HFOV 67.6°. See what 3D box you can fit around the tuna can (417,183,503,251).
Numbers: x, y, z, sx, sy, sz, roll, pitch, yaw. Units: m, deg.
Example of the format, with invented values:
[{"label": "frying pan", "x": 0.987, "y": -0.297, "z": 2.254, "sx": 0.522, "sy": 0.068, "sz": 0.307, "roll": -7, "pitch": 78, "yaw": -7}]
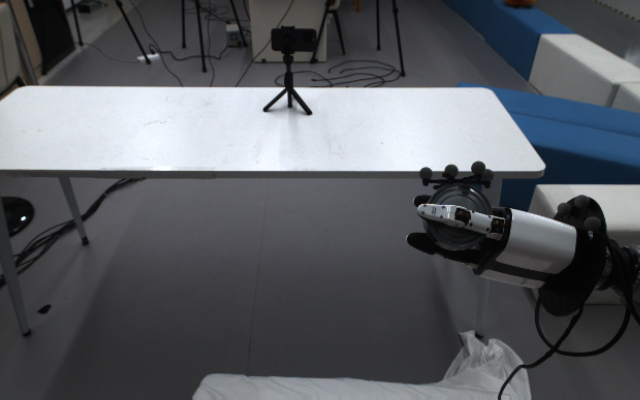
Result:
[{"label": "tuna can", "x": 0.179, "y": 0.021, "z": 0.632, "sx": 0.085, "sy": 0.034, "sz": 0.085, "roll": -1, "pitch": 75, "yaw": 4}]
